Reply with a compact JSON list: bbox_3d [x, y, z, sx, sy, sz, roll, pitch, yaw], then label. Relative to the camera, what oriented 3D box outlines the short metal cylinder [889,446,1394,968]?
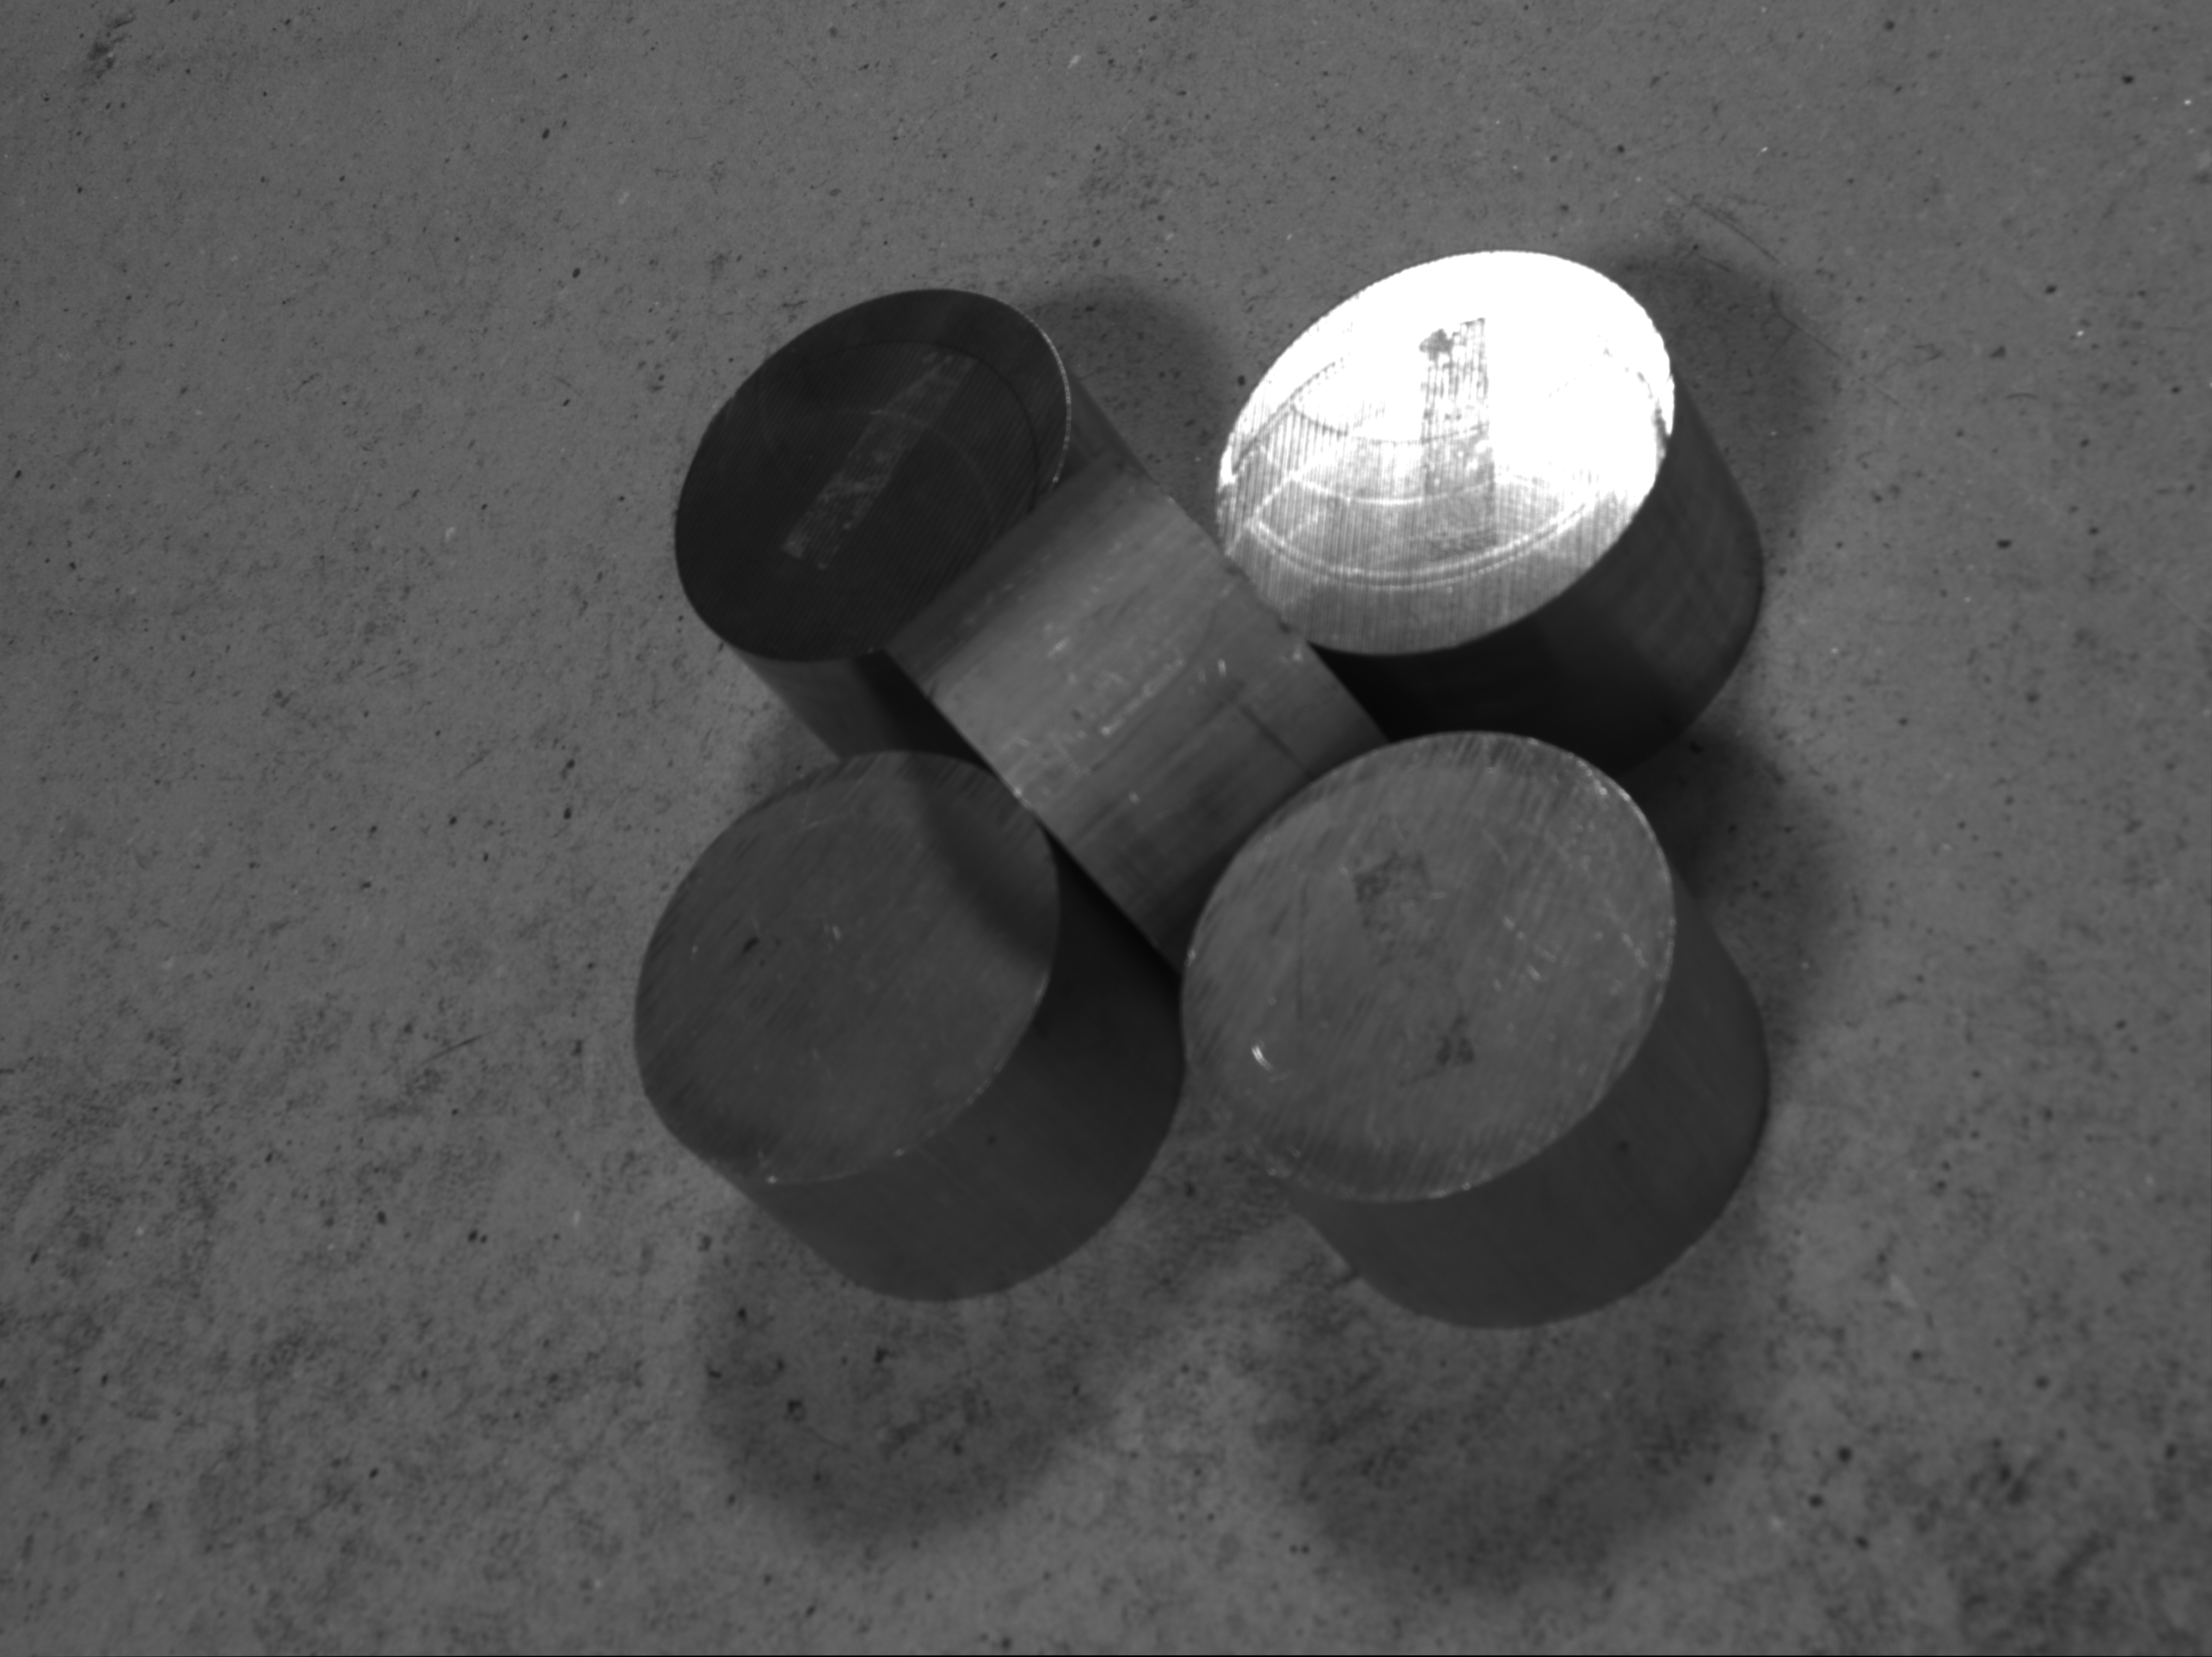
[{"bbox_3d":[0.009,-0.018,0.616,0.050,0.080,0.080,-43,51,-1],"label":"short metal cylinder"}]

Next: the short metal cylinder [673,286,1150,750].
[{"bbox_3d":[-0.033,-0.053,0.677,0.080,0.050,0.080,-13,56,21],"label":"short metal cylinder"}]

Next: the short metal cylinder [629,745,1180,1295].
[{"bbox_3d":[-0.034,0.033,0.625,0.080,0.050,0.080,-13,56,21],"label":"short metal cylinder"}]

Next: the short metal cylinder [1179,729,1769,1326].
[{"bbox_3d":[0.058,0.031,0.576,0.080,0.050,0.080,-13,56,21],"label":"short metal cylinder"}]

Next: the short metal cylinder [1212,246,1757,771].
[{"bbox_3d":[0.065,-0.051,0.623,0.080,0.050,0.080,-13,56,21],"label":"short metal cylinder"}]
